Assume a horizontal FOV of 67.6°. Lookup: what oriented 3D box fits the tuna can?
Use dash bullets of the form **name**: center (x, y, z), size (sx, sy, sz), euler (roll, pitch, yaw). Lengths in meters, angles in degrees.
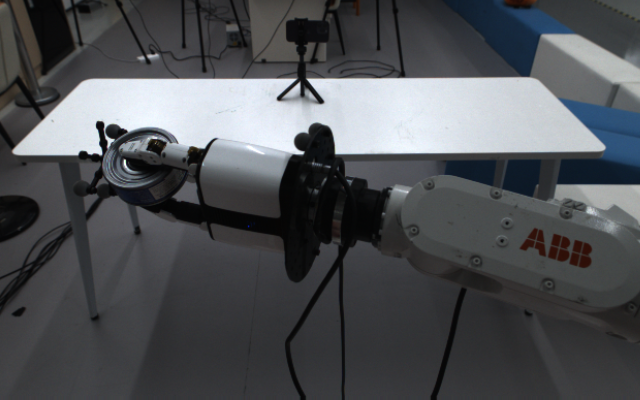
- **tuna can**: center (-0.188, -0.038, 0.531), size (0.085, 0.034, 0.085), euler (-2, 58, 3)
